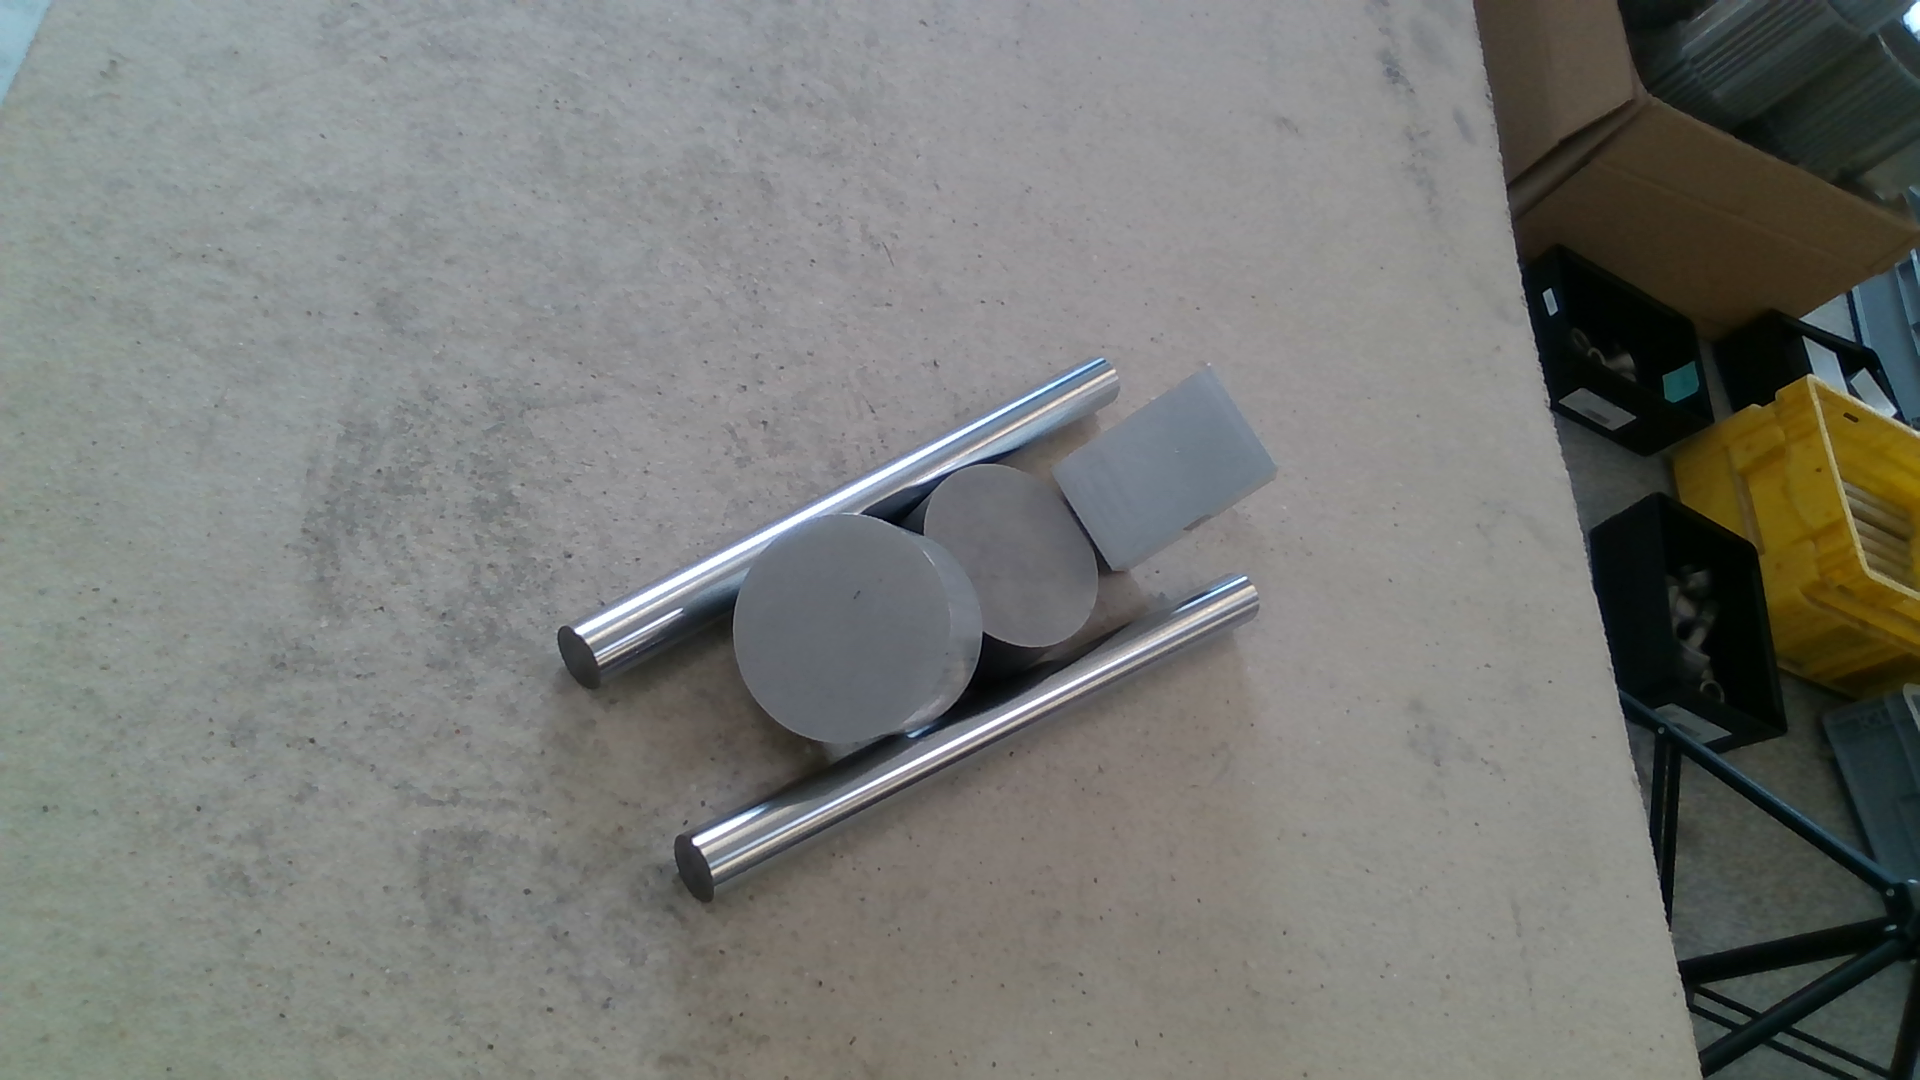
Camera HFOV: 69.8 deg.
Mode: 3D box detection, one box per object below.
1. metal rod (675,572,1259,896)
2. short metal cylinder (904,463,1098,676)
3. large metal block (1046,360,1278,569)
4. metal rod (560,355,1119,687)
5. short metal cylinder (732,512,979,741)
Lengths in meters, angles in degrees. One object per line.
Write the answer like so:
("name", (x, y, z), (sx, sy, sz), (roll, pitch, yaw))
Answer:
("metal rod", (0.020, 0.068, 0.562), (0.300, 0.025, 0.025), (-21, 77, -37))
("short metal cylinder", (0.009, 0.015, 0.568), (0.080, 0.050, 0.080), (14, 59, -25))
("large metal block", (0.090, -0.030, 0.603), (0.050, 0.080, 0.080), (58, 10, 7))
("metal rod", (-0.033, -0.019, 0.576), (0.300, 0.025, 0.025), (-31, 83, -39))
("short metal cylinder", (-0.036, 0.032, 0.504), (0.080, 0.080, 0.050), (62, 10, 11))
